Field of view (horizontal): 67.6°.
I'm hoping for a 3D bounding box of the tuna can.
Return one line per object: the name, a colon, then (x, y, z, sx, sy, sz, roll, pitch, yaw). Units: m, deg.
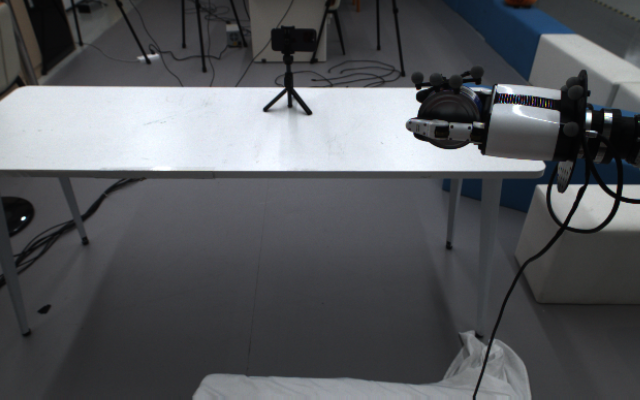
tuna can: (0.182, -0.118, 0.675, 0.085, 0.085, 0.034, 17, 37, 20)
